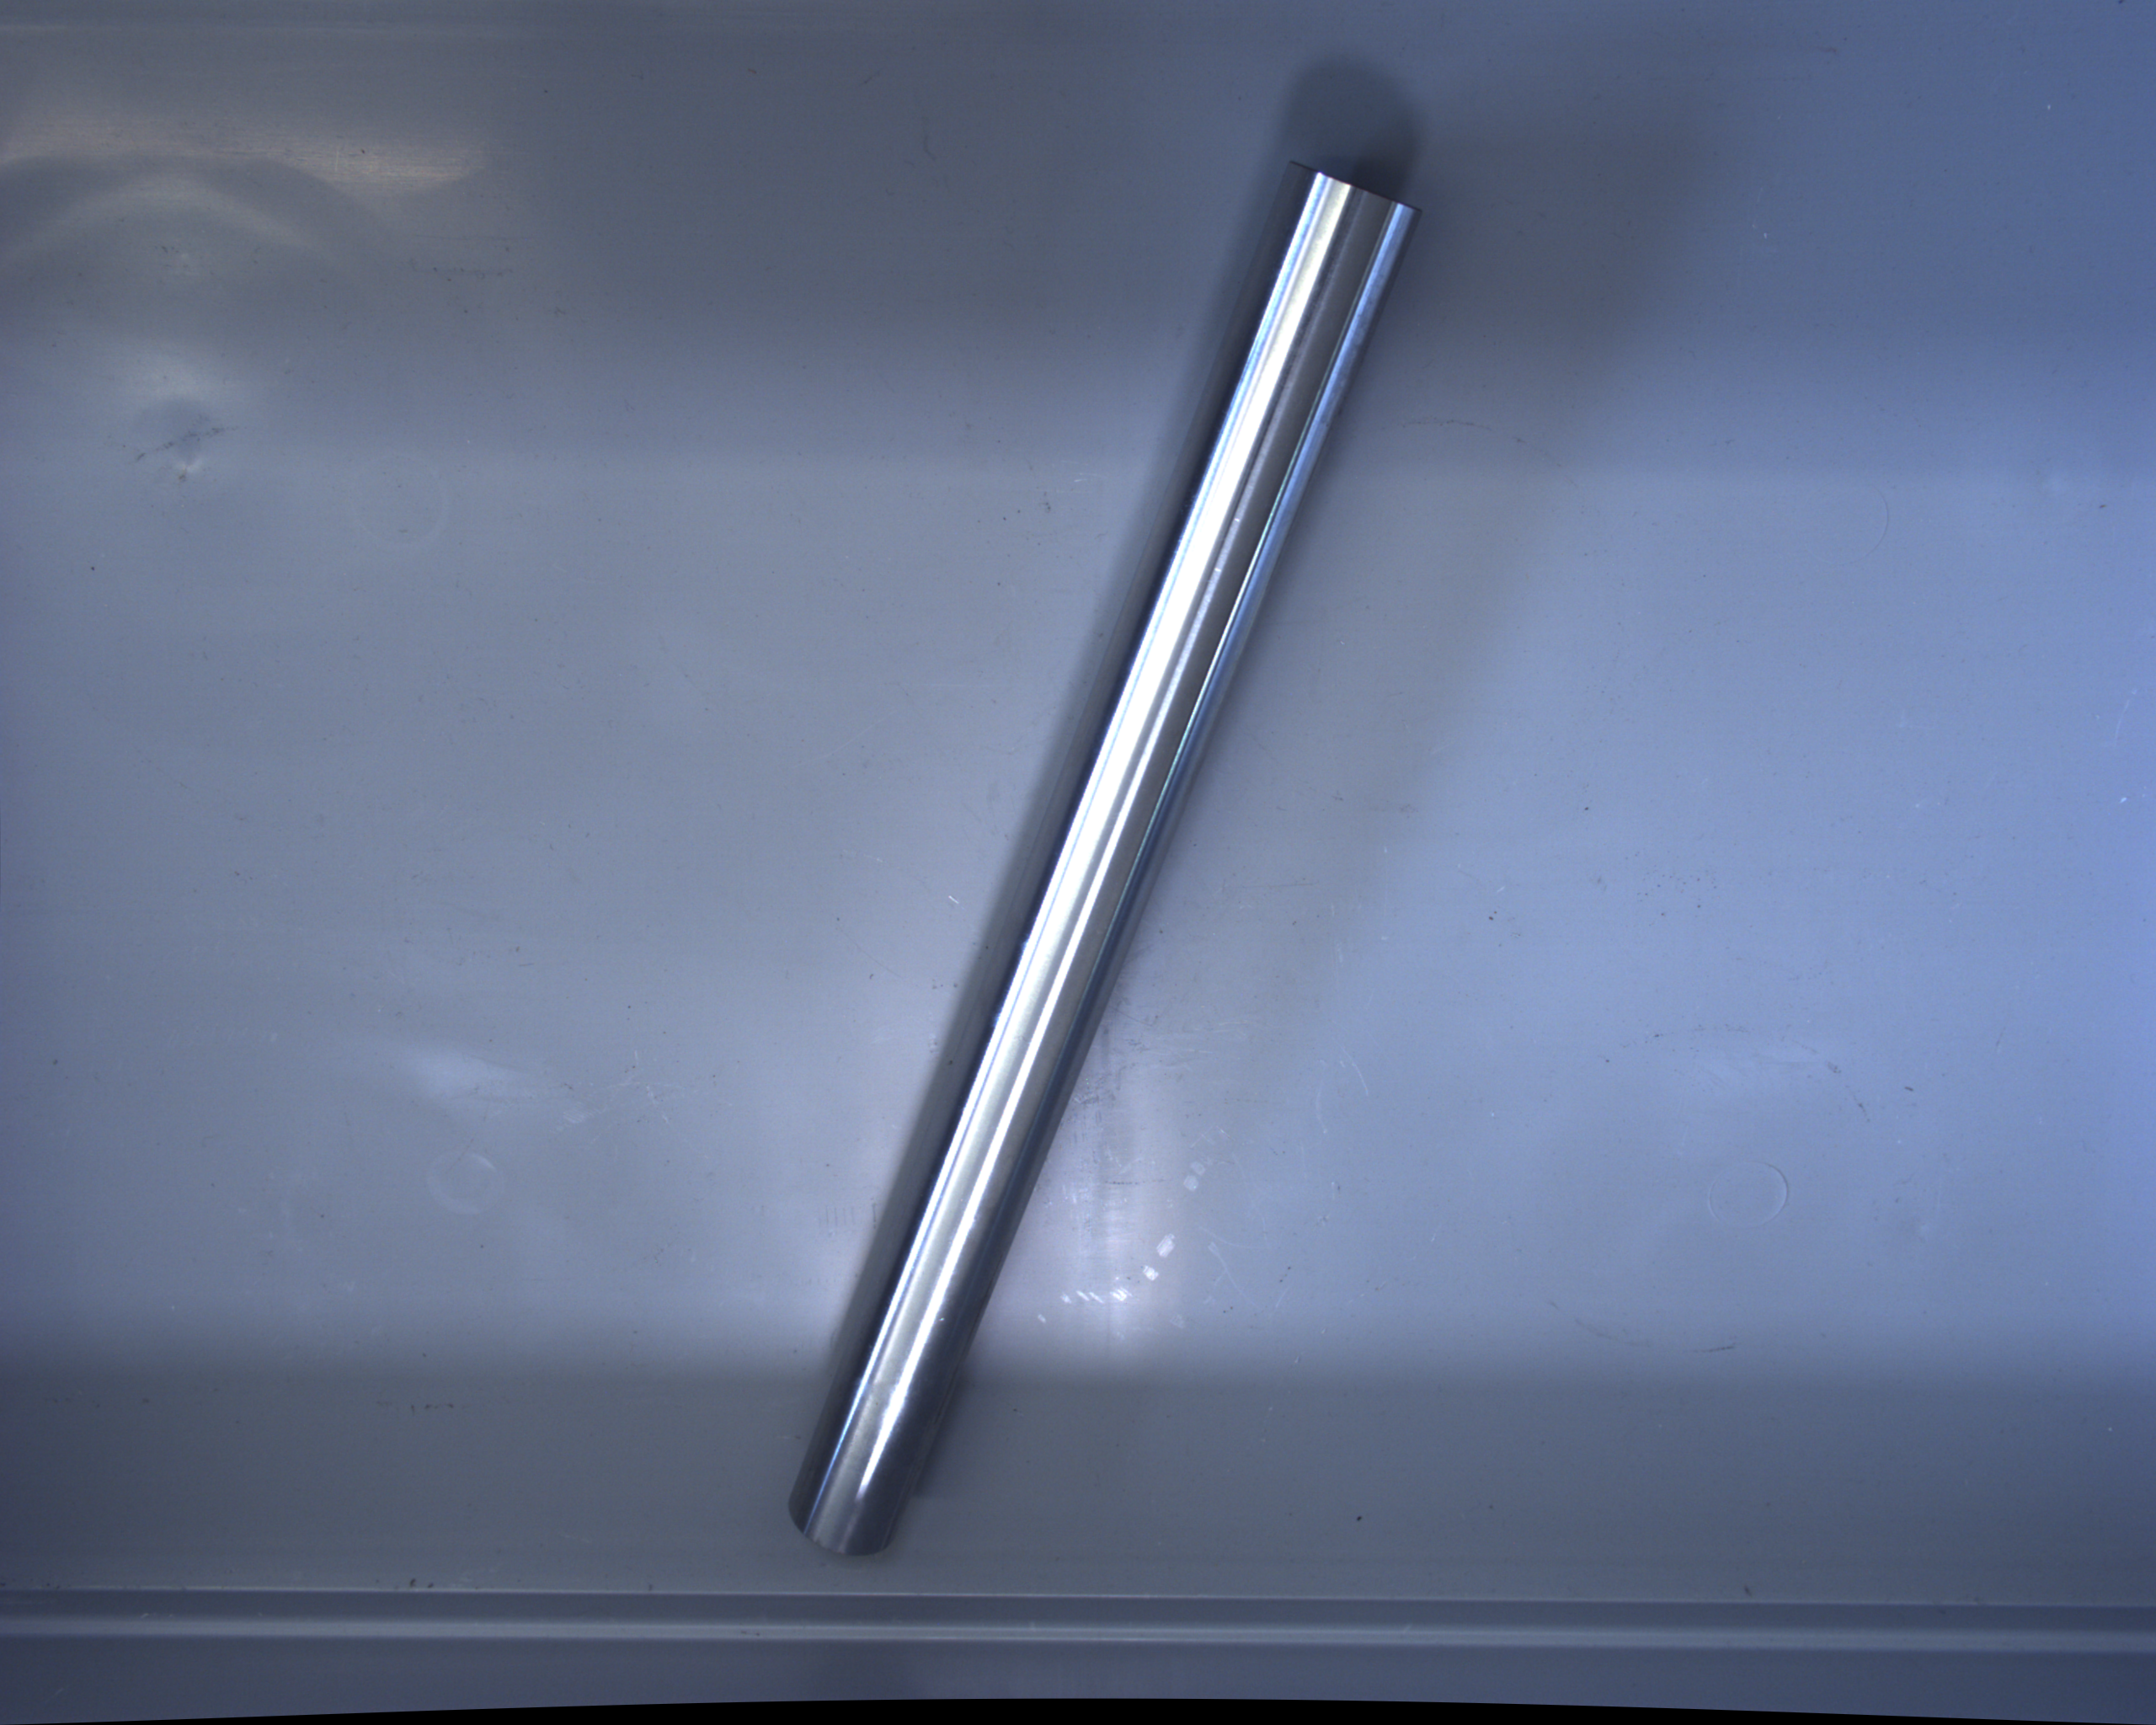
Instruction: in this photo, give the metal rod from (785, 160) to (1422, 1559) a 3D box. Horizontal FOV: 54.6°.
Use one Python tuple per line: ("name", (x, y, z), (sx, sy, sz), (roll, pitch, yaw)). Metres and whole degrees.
("metal rod", (-0.002, 0.013, 0.413), (0.025, 0.025, 0.298), (19, 109, -7))
